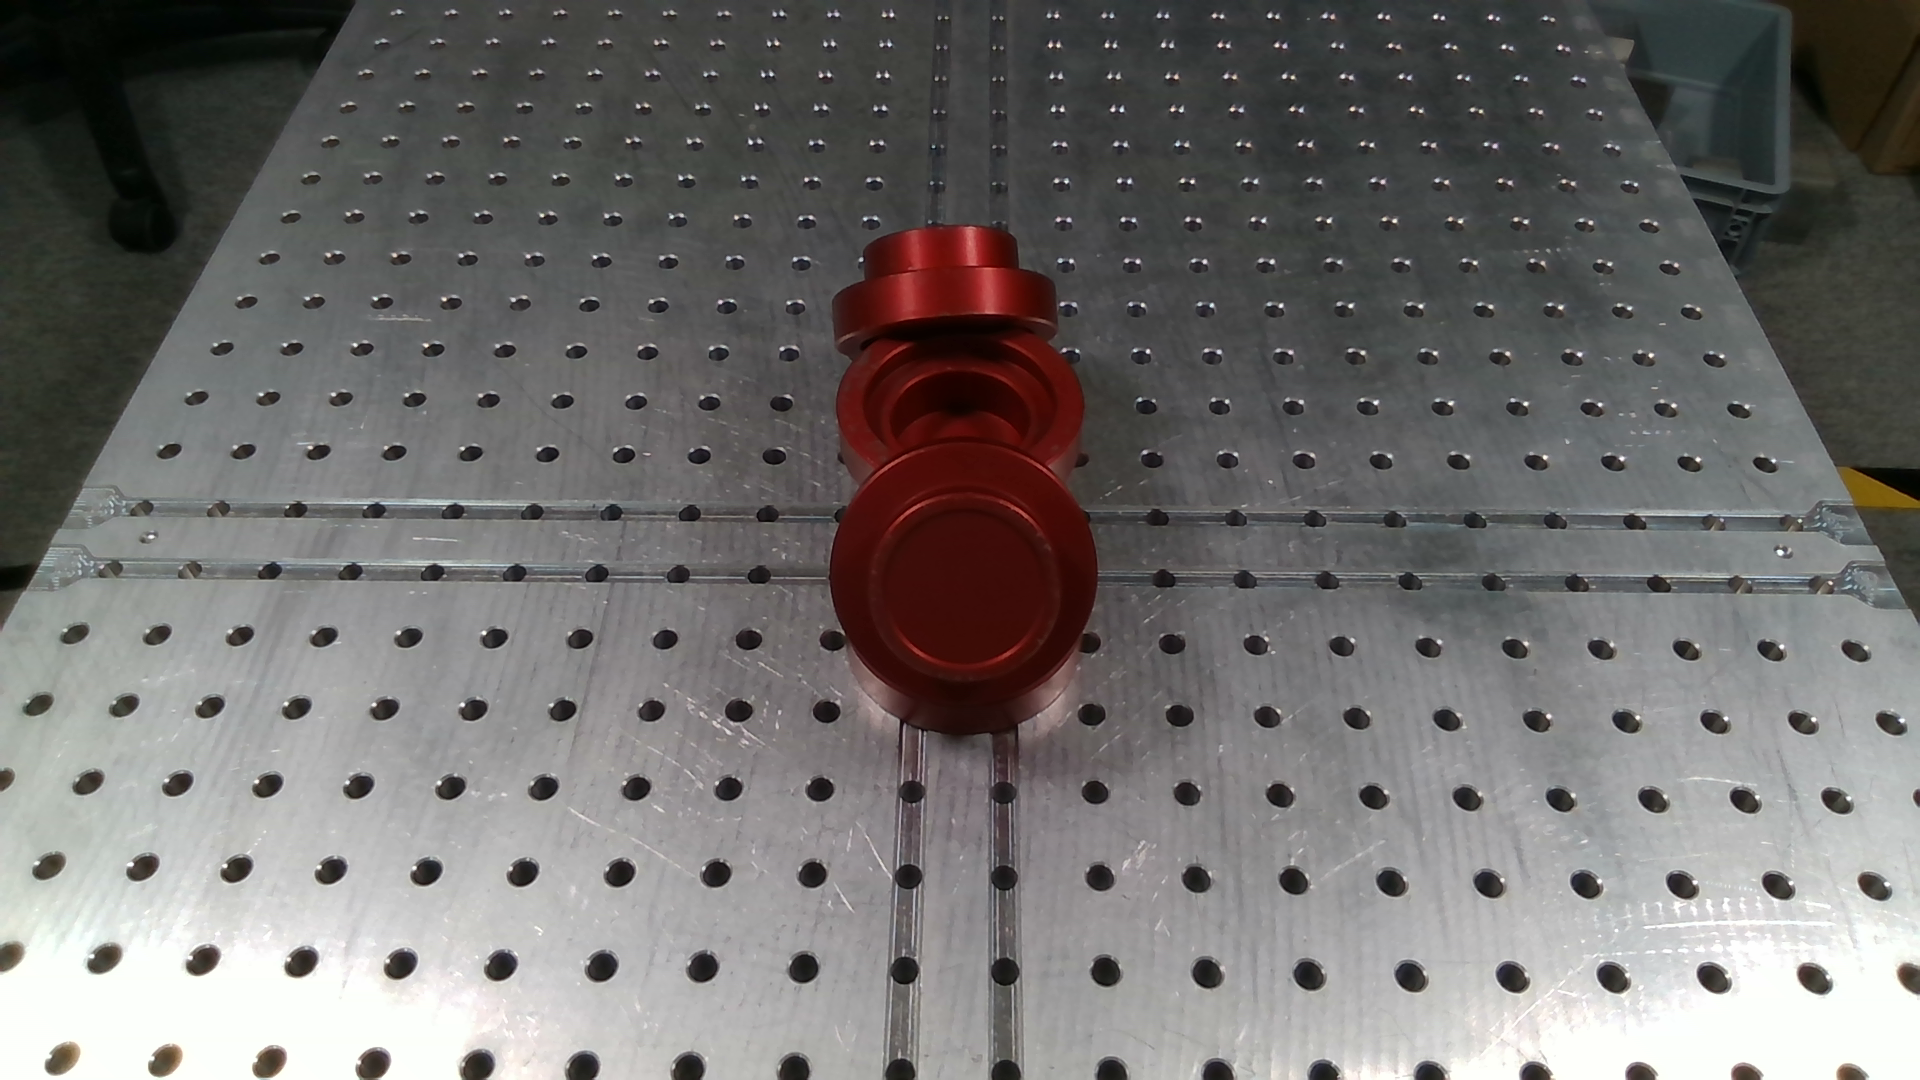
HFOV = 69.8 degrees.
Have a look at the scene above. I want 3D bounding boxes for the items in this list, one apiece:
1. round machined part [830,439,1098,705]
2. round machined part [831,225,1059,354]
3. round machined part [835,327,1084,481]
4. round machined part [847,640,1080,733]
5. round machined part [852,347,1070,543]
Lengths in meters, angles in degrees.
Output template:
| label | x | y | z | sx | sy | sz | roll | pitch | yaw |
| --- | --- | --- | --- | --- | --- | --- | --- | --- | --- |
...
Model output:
| label | x | y | z | sx | sy | sz | roll | pitch | yaw |
| --- | --- | --- | --- | --- | --- | --- | --- | --- | --- |
| round machined part | 0.001 | 0.013 | 0.501 | 0.098 | 0.098 | 0.042 | 0 | 10 | 0 |
| round machined part | -0.007 | -0.107 | 0.602 | 0.098 | 0.098 | 0.042 | -4 | 87 | -4 |
| round machined part | 0.000 | -0.043 | 0.558 | 0.098 | 0.042 | 0.098 | 0 | 50 | 0 |
| round machined part | 0.001 | 0.026 | 0.557 | 0.098 | 0.042 | 0.098 | 0 | 50 | 0 |
| round machined part | 0.001 | -0.049 | 0.620 | 0.098 | 0.042 | 0.098 | 0 | 50 | 0 |
